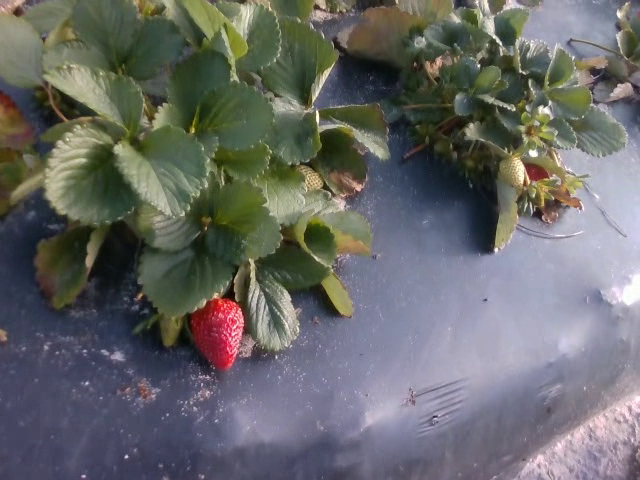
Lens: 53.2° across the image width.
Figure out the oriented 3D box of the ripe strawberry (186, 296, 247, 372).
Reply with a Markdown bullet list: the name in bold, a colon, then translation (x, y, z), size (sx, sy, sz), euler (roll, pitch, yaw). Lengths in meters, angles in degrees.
- **ripe strawberry**: translation (-0.044, 0.044, 0.276), size (0.029, 0.036, 0.021), euler (-11, -18, -19)
